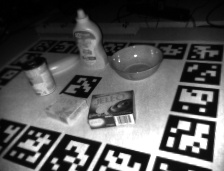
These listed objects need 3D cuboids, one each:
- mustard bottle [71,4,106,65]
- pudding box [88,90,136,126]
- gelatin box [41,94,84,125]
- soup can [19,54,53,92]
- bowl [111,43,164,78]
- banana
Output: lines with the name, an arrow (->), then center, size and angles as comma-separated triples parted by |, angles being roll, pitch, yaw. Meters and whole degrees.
mustard bottle -> -0.084, -0.162, 0.695 | 0.095, 0.193, 0.058 | 6, 40, 24
pudding box -> 0.000, 0.052, 0.545 | 0.113, 0.039, 0.089 | -9, 43, 6
gelatin box -> -0.133, 0.059, 0.583 | 0.088, 0.030, 0.073 | 12, 47, 30
soup can -> -0.229, -0.040, 0.663 | 0.068, 0.103, 0.067 | -7, 38, 6
bowl -> 0.079, -0.070, 0.666 | 0.161, 0.055, 0.161 | -9, 37, 8
banana -> -0.214, -0.083, 0.781 | 0.198, 0.039, 0.073 | -24, 29, -13
